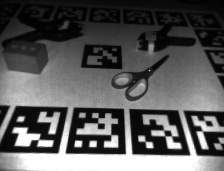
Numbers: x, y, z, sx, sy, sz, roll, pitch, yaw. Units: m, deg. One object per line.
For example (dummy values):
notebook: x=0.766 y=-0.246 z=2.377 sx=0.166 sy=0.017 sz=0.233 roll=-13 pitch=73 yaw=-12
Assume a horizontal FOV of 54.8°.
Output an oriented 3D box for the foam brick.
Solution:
foam brick: x=-0.212 y=-0.057 z=0.501 sx=0.078 sy=0.052 sz=0.052 roll=4 pitch=48 yaw=6

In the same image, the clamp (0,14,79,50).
clamp: x=-0.194 y=-0.152 z=0.598 sx=0.203 sy=0.037 sz=0.164 roll=-1 pitch=44 yaw=-6

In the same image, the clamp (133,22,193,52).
clamp: x=0.132 y=-0.134 z=0.612 sx=0.166 sy=0.037 sz=0.120 roll=-20 pitch=59 yaw=-21

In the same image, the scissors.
scissors: x=0.069 y=-0.028 z=0.512 sx=0.087 sy=0.016 sz=0.204 roll=37 pitch=53 yaw=17
